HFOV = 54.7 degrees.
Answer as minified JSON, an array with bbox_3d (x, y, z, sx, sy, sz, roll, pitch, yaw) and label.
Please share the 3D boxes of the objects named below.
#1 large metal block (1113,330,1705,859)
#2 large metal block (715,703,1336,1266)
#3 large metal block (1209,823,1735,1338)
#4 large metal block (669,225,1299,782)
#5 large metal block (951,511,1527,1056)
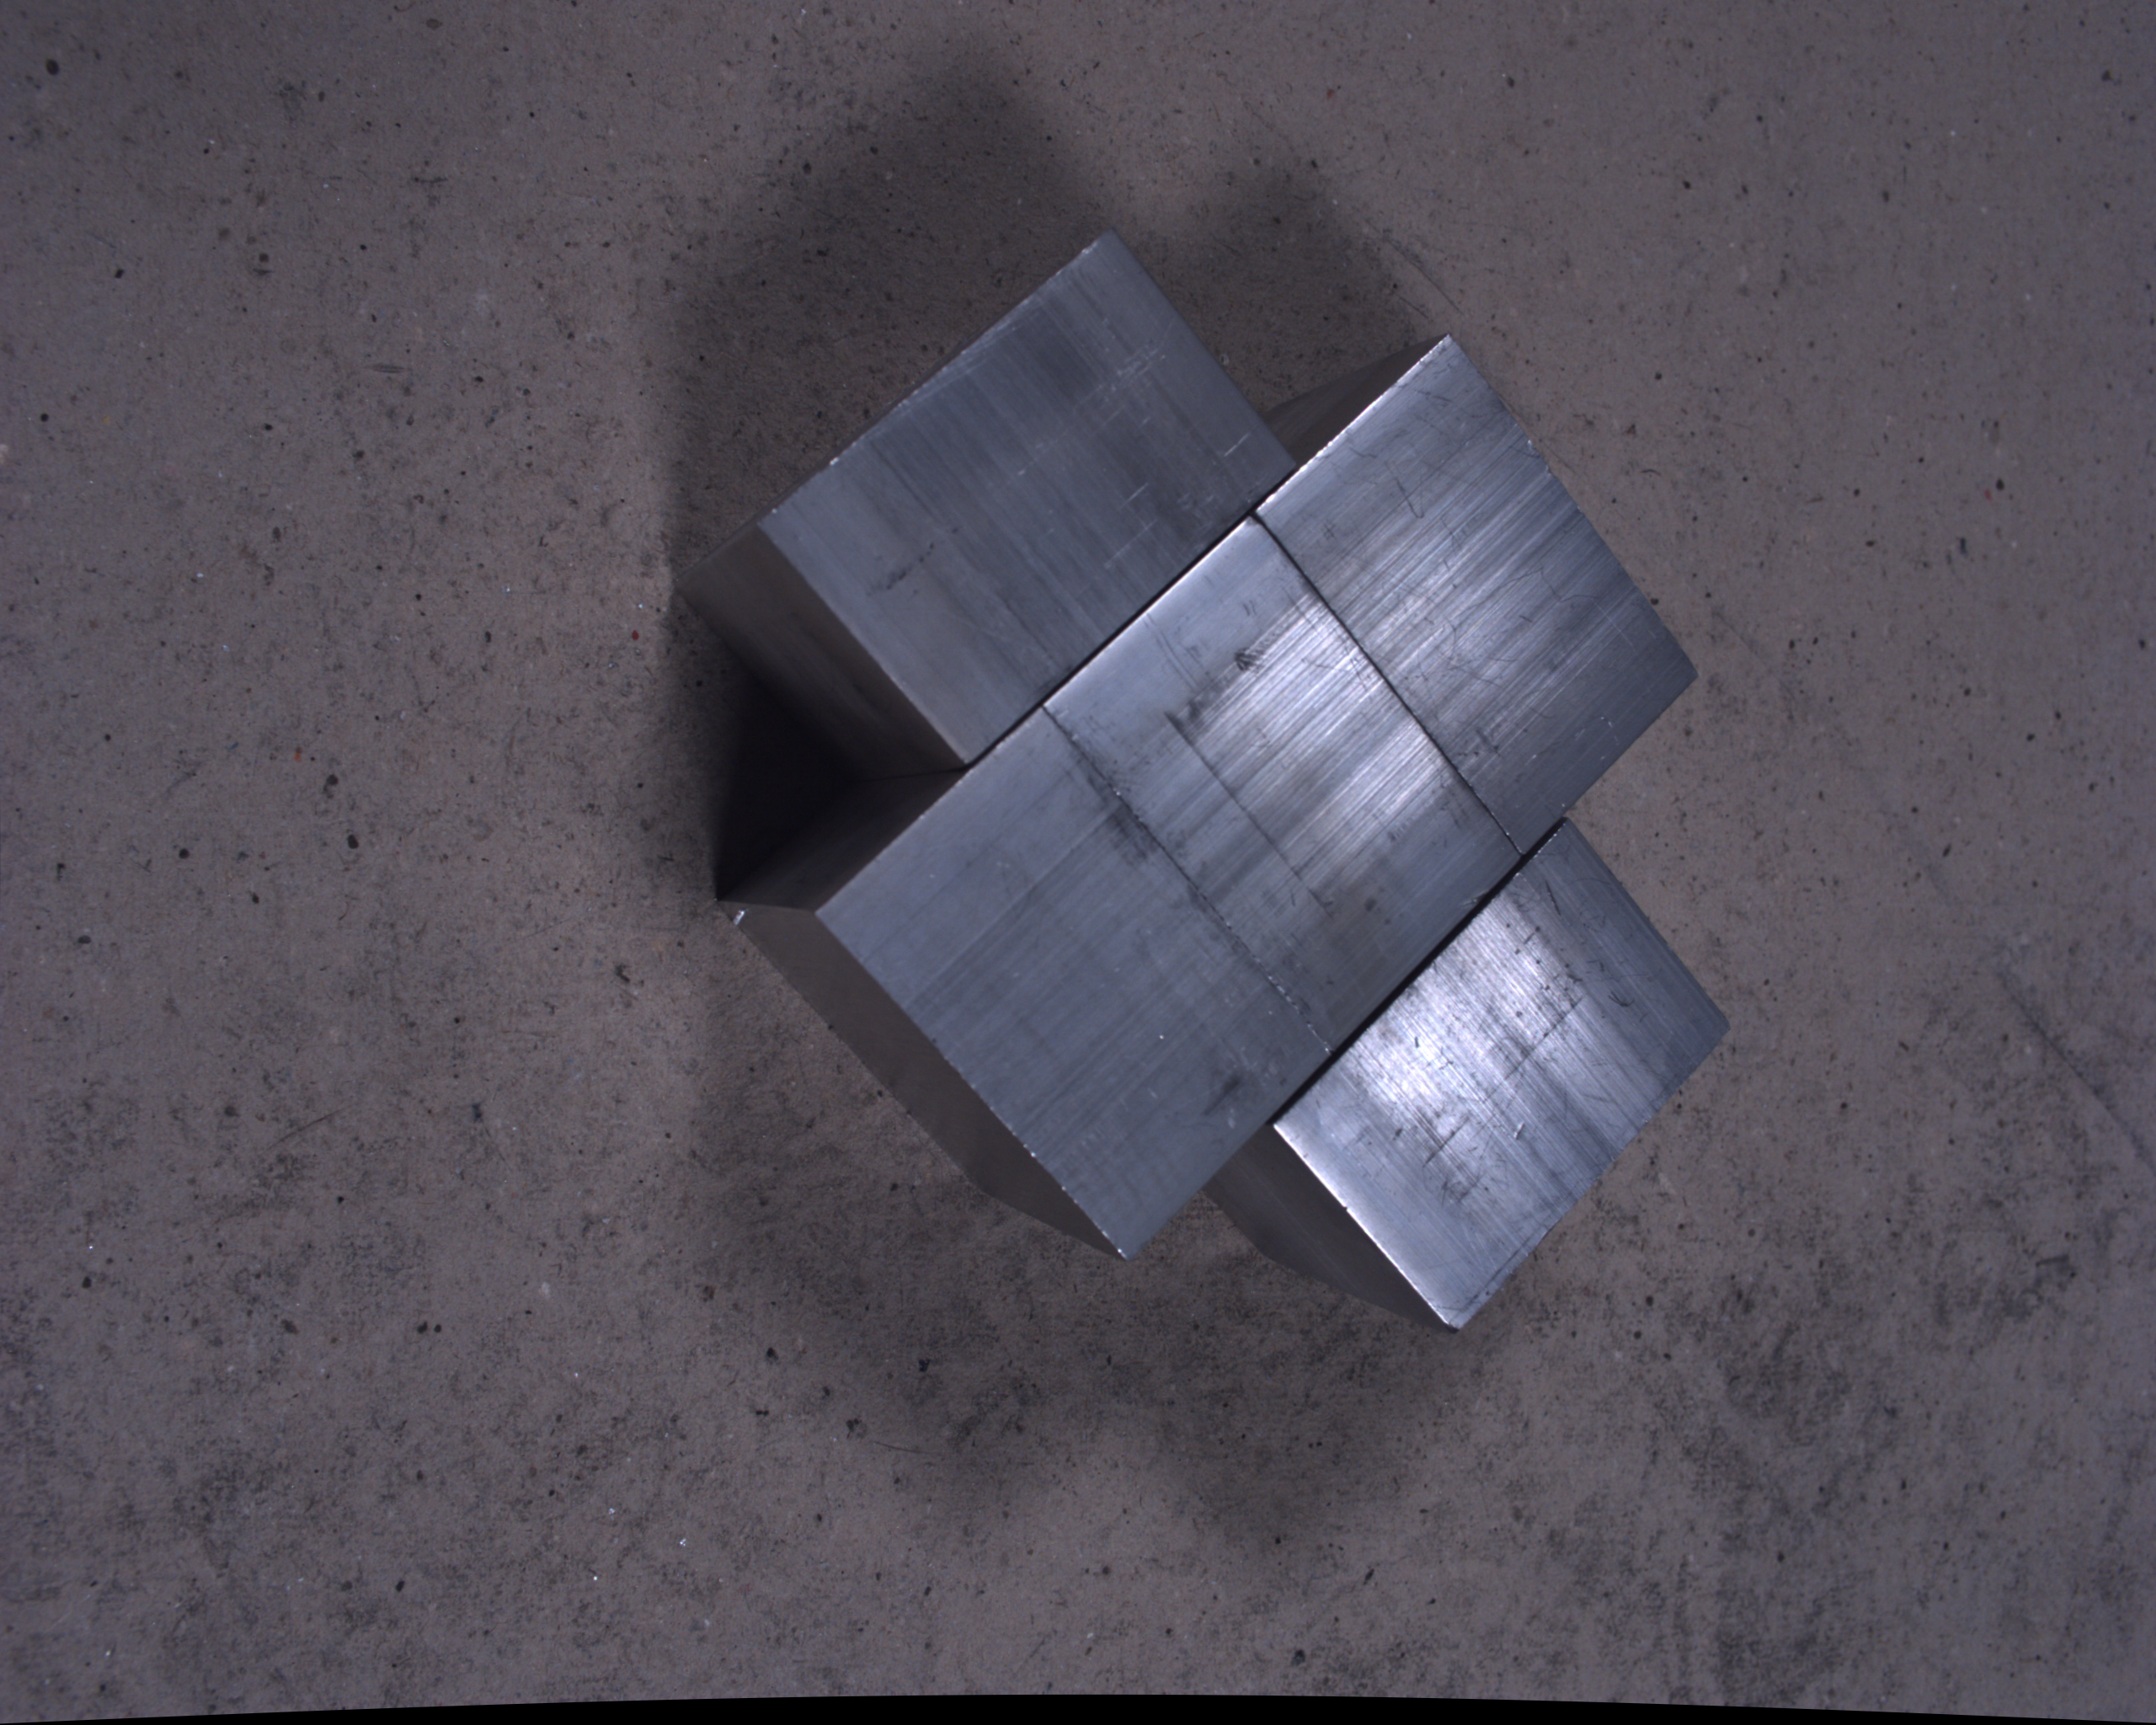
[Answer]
[{"bbox_3d":[0.058,-0.047,0.404,0.050,0.080,0.080,-44,104,-15],"label":"large metal block"},{"bbox_3d":[-0.013,0.020,0.378,0.050,0.080,0.080,-44,104,-15],"label":"large metal block"},{"bbox_3d":[0.064,0.038,0.406,0.080,0.080,0.050,-44,104,-15],"label":"large metal block"},{"bbox_3d":[-0.020,-0.060,0.375,0.080,0.080,0.050,-44,104,-15],"label":"large metal block"},{"bbox_3d":[0.023,-0.013,0.391,0.050,0.080,0.080,-44,104,-15],"label":"large metal block"}]
